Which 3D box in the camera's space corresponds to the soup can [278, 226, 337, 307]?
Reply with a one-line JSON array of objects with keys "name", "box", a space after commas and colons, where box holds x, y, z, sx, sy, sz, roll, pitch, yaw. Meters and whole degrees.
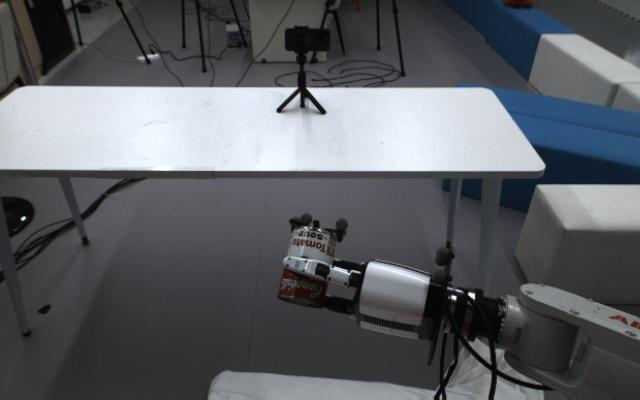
[{"name": "soup can", "box": [-0.015, 0.095, 0.682, 0.067, 0.067, 0.101, 9, 72, 10]}]
